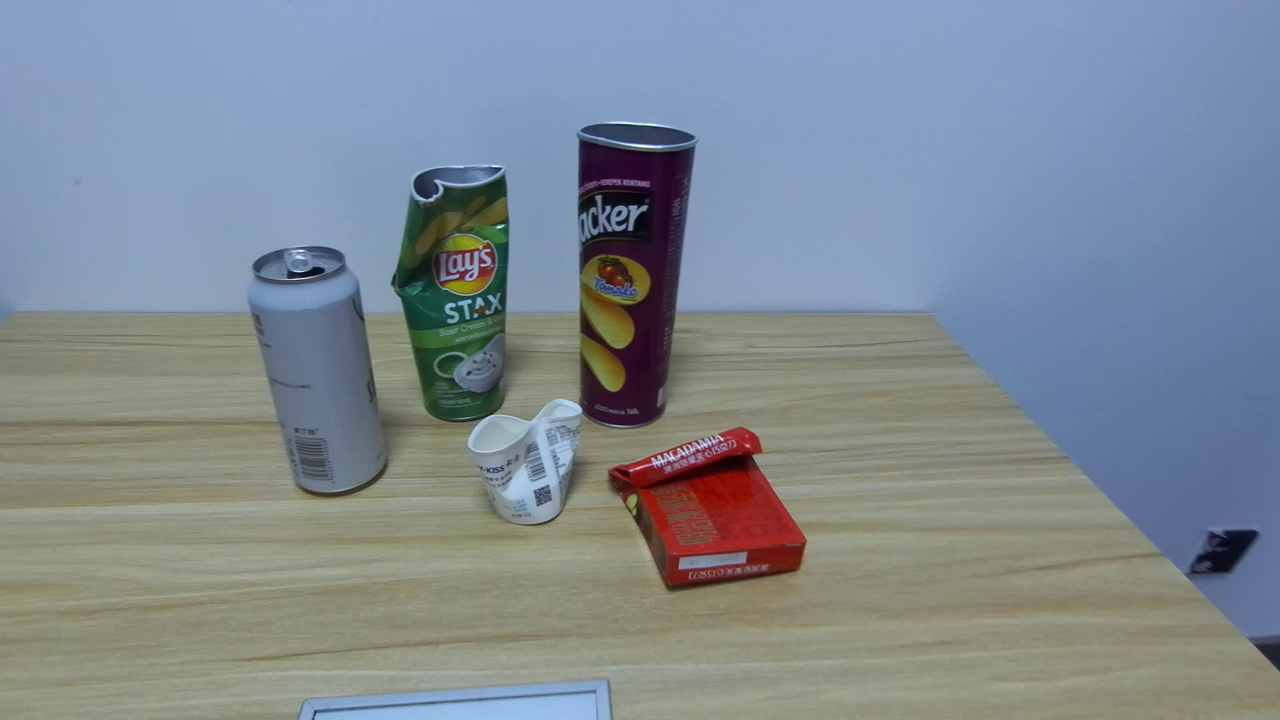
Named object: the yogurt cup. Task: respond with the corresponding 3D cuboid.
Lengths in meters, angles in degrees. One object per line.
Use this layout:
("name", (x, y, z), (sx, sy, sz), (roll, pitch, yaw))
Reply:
("yogurt cup", (-0.078, 0.071, 0.493), (0.053, 0.071, 0.075), (17, 35, 18))

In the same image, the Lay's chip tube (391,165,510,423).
("Lay's chip tube", (-0.147, -0.051, 0.567), (0.069, 0.201, 0.077), (9, 34, 8))

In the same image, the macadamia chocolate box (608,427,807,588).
("macadamia chocolate box", (0.043, 0.100, 0.495), (0.112, 0.056, 0.126), (-17, 36, -4))

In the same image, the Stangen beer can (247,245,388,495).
("Stangen beer can", (-0.220, 0.011, 0.488), (0.067, 0.171, 0.067), (2, 30, -1))

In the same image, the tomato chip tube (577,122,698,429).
("tomato chip tube", (-0.007, -0.061, 0.562), (0.077, 0.234, 0.080), (-20, 38, -33))
